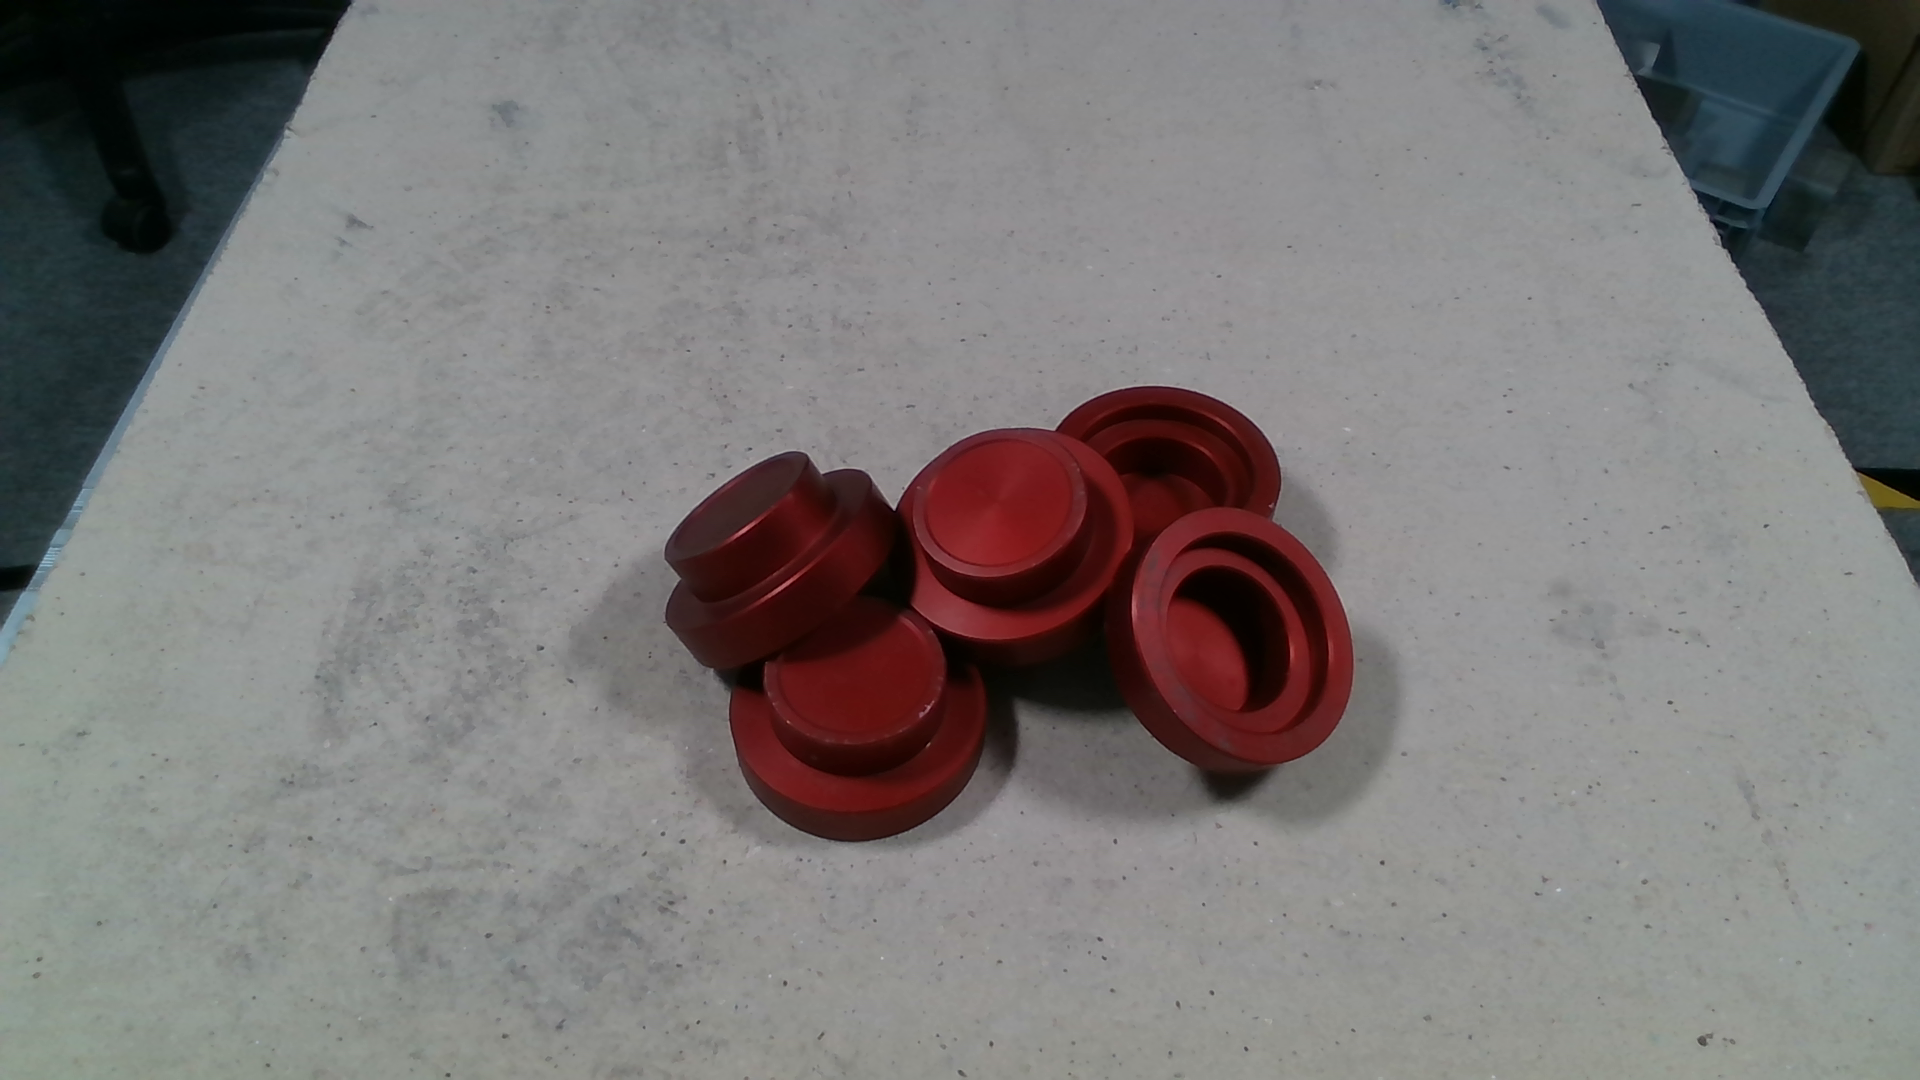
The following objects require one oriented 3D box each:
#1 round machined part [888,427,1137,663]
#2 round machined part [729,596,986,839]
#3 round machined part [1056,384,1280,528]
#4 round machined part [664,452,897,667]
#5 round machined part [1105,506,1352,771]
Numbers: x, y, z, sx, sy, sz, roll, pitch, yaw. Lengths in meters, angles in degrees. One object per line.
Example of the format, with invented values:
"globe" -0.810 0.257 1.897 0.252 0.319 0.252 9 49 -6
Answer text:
"round machined part" 0.019 -0.005 0.537 0.098 0.042 0.098 -6 58 9
"round machined part" -0.039 0.060 0.525 0.098 0.042 0.098 0 50 0
"round machined part" 0.085 -0.018 0.591 0.098 0.042 0.098 0 50 0
"round machined part" -0.077 0.002 0.542 0.098 0.042 0.098 -29 23 14
"round machined part" 0.097 0.040 0.525 0.098 0.042 0.098 9 67 -23
